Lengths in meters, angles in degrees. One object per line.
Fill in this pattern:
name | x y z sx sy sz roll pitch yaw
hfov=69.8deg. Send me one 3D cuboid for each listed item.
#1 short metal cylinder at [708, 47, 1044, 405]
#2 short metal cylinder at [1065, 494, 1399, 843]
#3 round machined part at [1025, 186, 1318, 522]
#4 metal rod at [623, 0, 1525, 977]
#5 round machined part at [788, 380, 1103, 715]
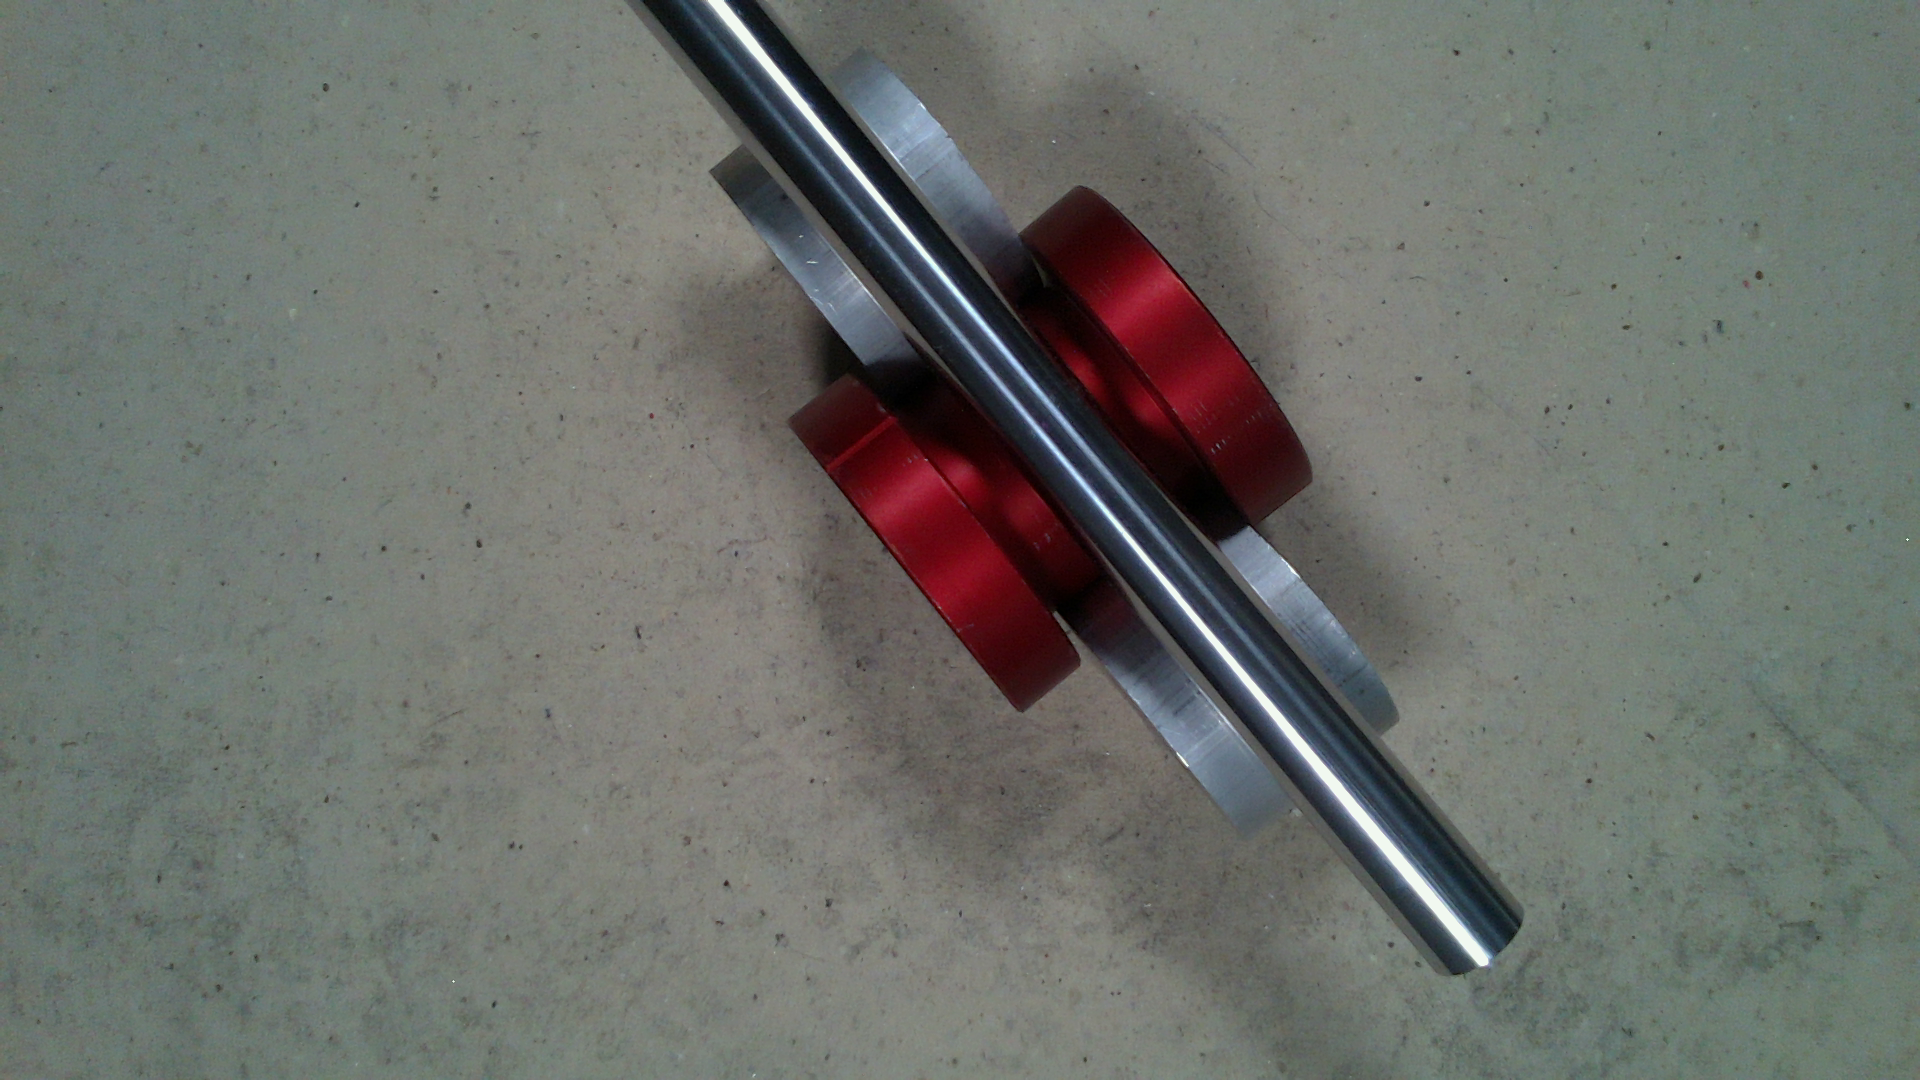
short metal cylinder | -0.022 -0.082 0.367 0.050 0.080 0.080 -39 90 0
short metal cylinder | 0.070 0.033 0.368 0.050 0.080 0.080 -39 90 0
round machined part | 0.045 -0.040 0.359 0.042 0.098 0.098 -39 90 5
metal rod | 0.023 -0.023 0.316 0.025 0.025 0.300 -40 90 0
round machined part | 0.002 -0.004 0.358 0.042 0.098 0.098 -39 90 -4
